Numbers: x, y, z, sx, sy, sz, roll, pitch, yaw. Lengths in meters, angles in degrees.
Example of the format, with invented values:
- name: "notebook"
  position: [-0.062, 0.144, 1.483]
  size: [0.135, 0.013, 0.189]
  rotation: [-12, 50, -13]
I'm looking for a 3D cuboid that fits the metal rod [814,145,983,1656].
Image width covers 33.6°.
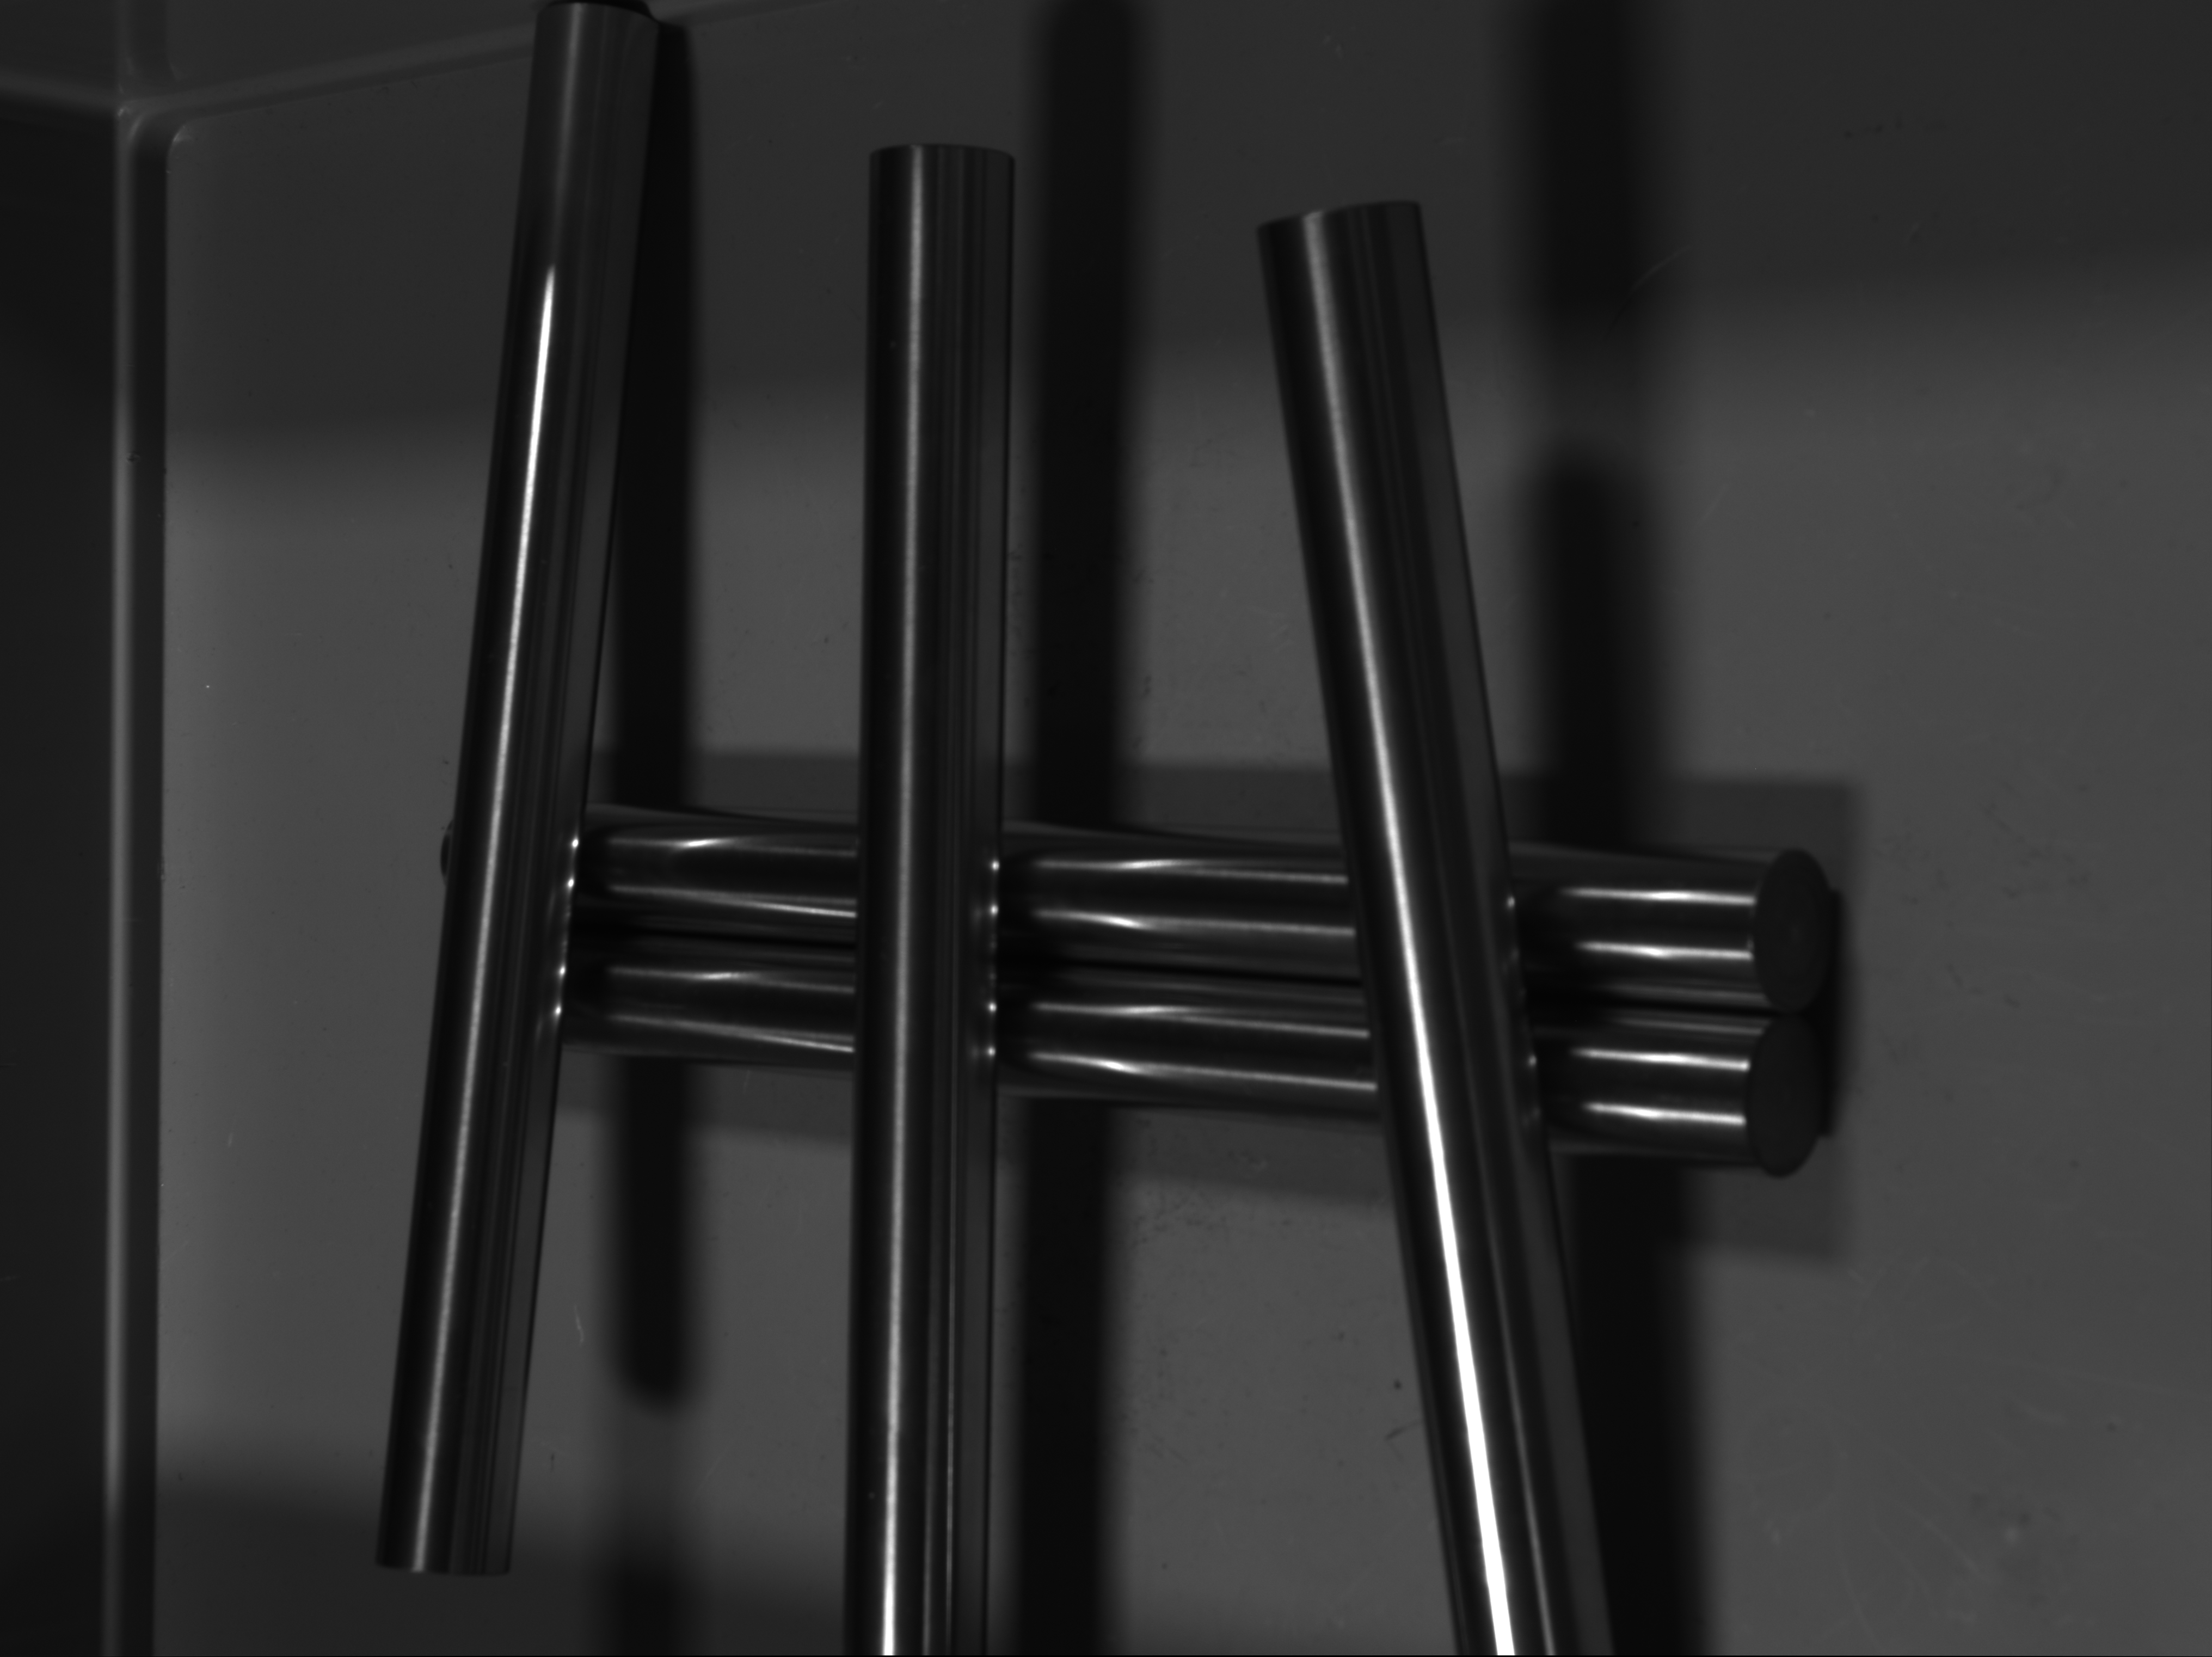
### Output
- name: "metal rod"
  position: [-0.036, 0.034, 0.633]
  size: [0.025, 0.025, 0.300]
  rotation: [2, 91, 39]

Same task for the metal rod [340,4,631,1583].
- name: "metal rod"
  position: [-0.118, -0.009, 0.701]
  size: [0.025, 0.025, 0.300]
  rotation: [-1, 81, 39]

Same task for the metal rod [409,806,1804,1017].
- name: "metal rod"
  position: [-0.016, 0.011, 0.649]
  size: [0.299, 0.025, 0.025]
  rotation: [2, 91, 39]

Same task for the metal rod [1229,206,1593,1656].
- name: "metal rod"
  position: [0.052, 0.056, 0.563]
  size: [0.025, 0.025, 0.300]
  rotation: [-5, 95, 39]

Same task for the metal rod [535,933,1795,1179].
- name: "metal rod"
  position: [-0.017, 0.036, 0.650]
  size: [0.299, 0.025, 0.025]
  rotation: [2, 91, 39]
